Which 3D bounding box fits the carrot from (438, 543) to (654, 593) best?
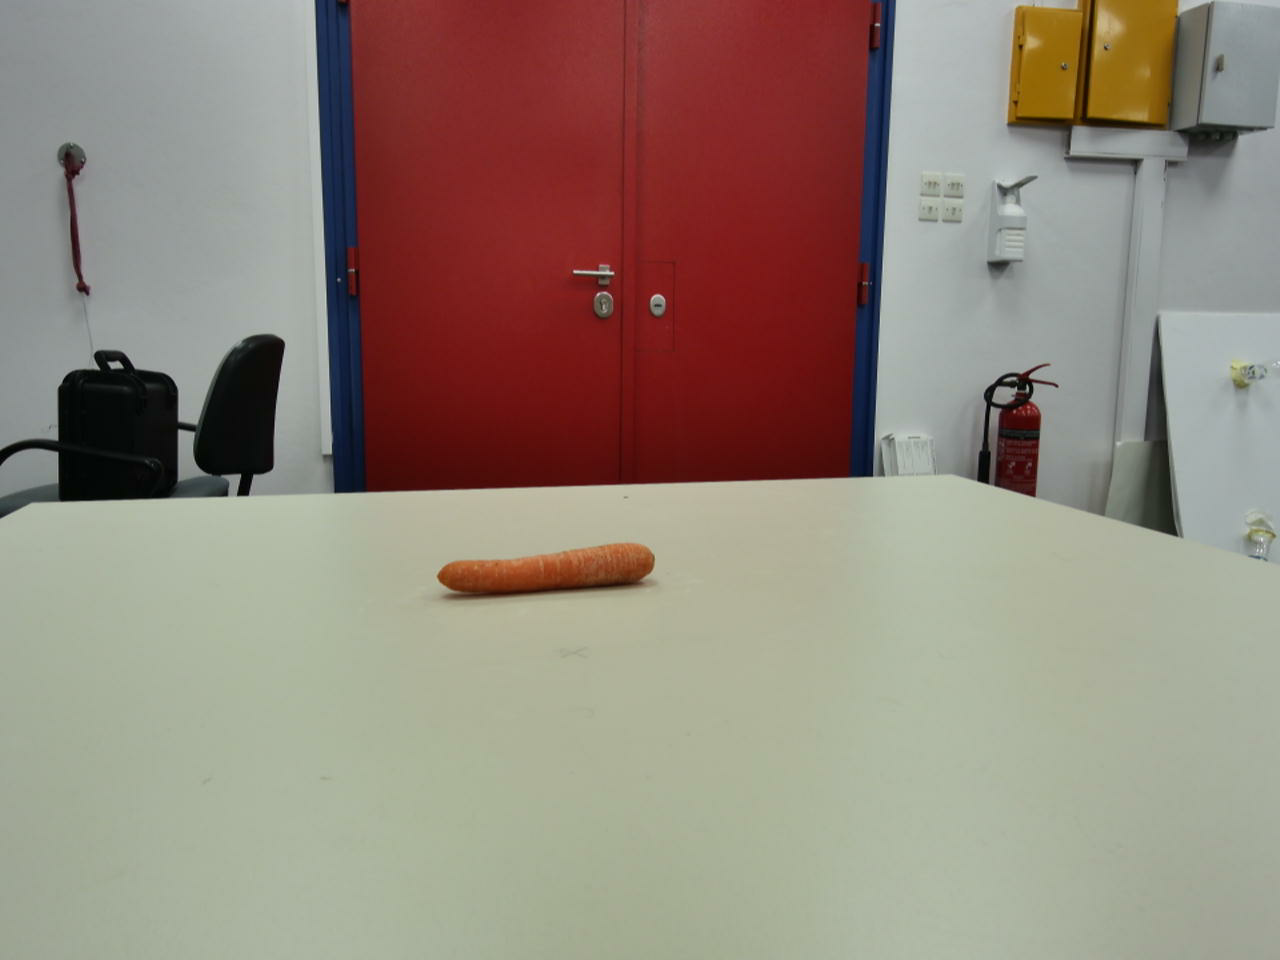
[{"bbox_3d":[-0.051,0.050,0.565,0.122,0.023,0.024,-2,7,-16],"label":"carrot"}]
